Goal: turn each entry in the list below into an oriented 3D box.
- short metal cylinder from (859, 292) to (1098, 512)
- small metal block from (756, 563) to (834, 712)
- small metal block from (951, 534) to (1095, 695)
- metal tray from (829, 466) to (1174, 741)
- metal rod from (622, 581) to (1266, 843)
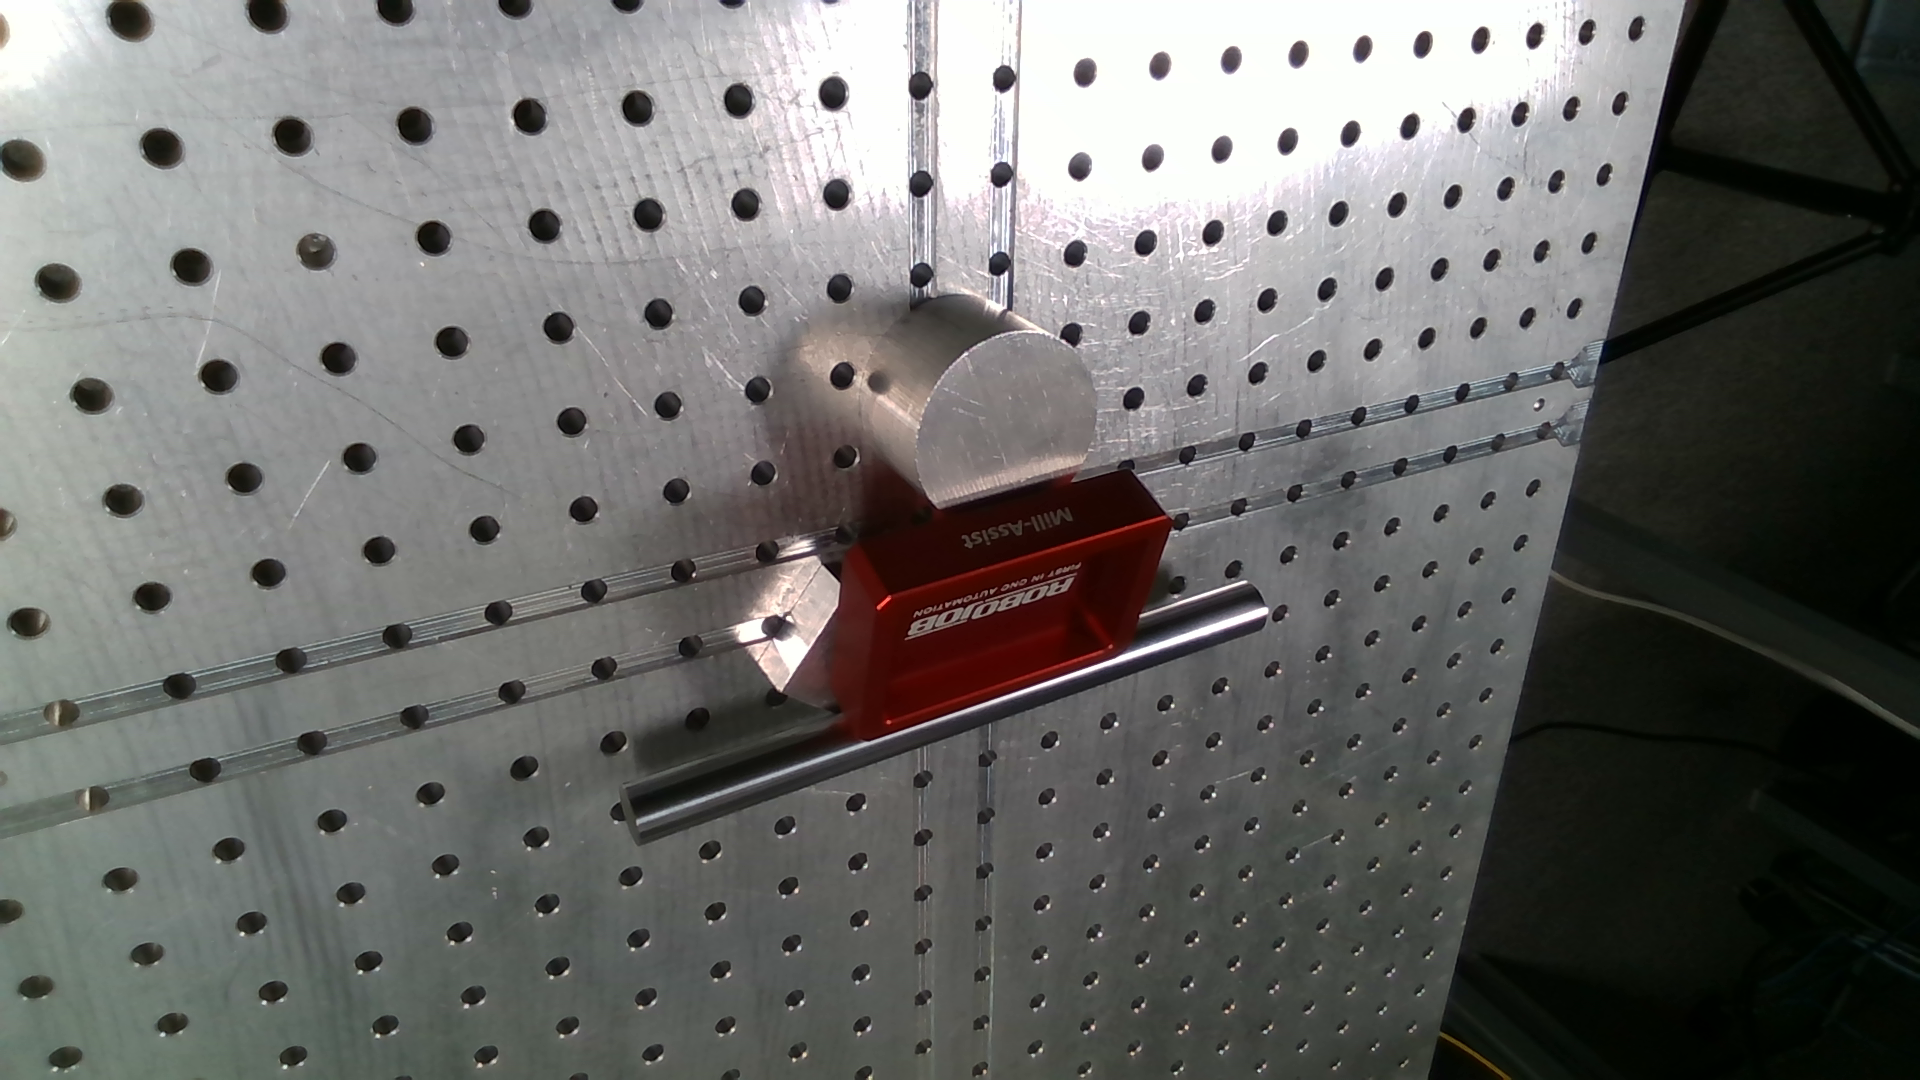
[{"bbox_3d":[0.007,-0.052,0.543,0.080,0.050,0.080,-14,122,-25],"label":"short metal cylinder"},{"bbox_3d":[-0.048,0.045,0.577,0.050,0.025,0.050,29,98,-39],"label":"small metal block"},{"bbox_3d":[0.029,0.033,0.620,0.050,0.025,0.050,-28,126,-16],"label":"small metal block"},{"bbox_3d":[0.015,0.025,0.552,0.130,0.030,0.090,-16,142,-24],"label":"metal tray"},{"bbox_3d":[0.005,0.068,0.591,0.300,0.025,0.025,-16,122,-24],"label":"metal rod"}]
